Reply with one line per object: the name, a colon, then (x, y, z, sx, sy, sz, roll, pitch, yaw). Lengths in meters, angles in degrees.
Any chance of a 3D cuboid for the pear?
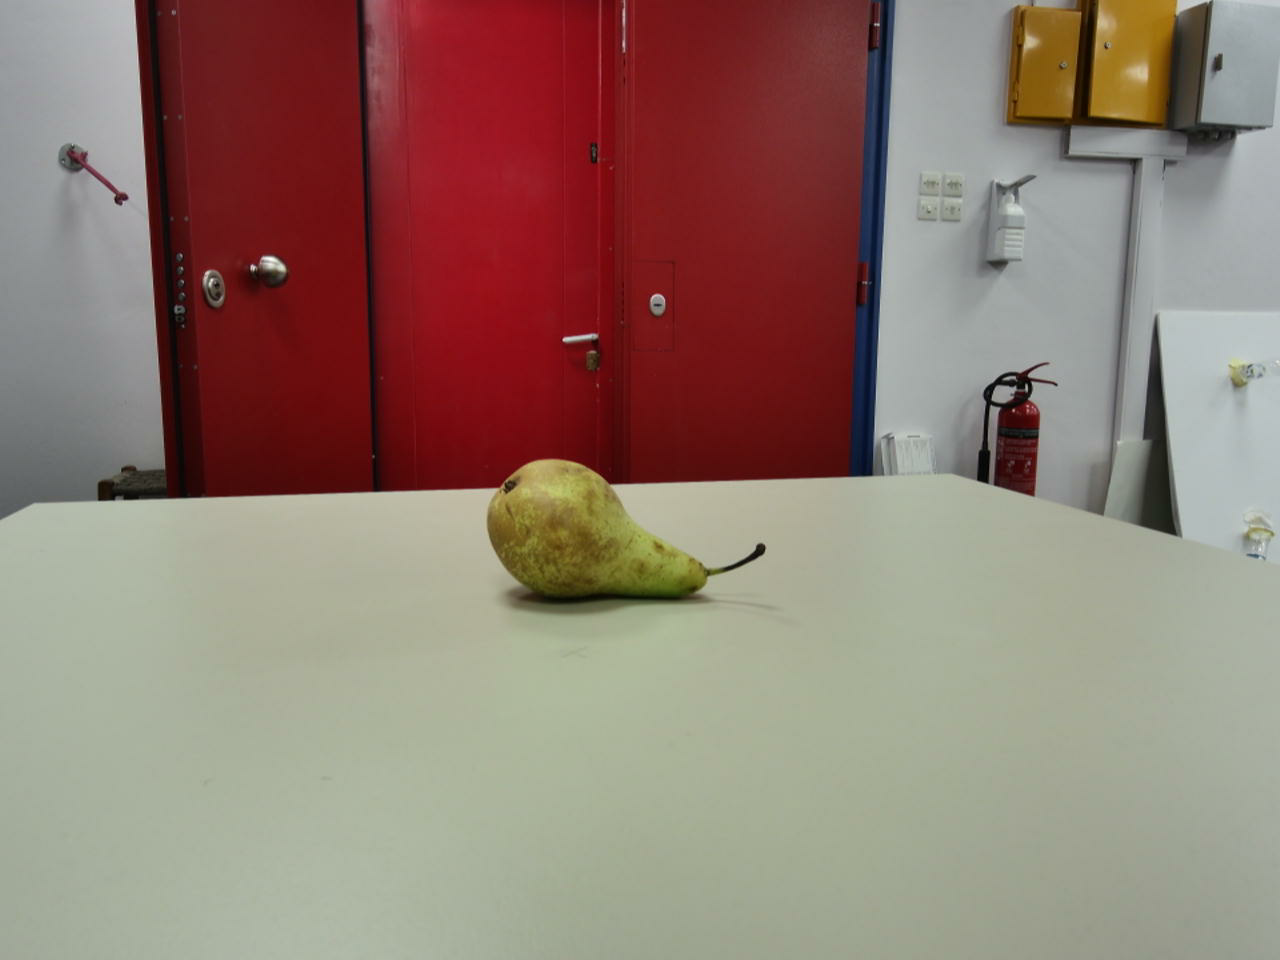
pear: (-0.010, 0.025, 0.543, 0.144, 0.075, 0.071, -1, 7, -5)
